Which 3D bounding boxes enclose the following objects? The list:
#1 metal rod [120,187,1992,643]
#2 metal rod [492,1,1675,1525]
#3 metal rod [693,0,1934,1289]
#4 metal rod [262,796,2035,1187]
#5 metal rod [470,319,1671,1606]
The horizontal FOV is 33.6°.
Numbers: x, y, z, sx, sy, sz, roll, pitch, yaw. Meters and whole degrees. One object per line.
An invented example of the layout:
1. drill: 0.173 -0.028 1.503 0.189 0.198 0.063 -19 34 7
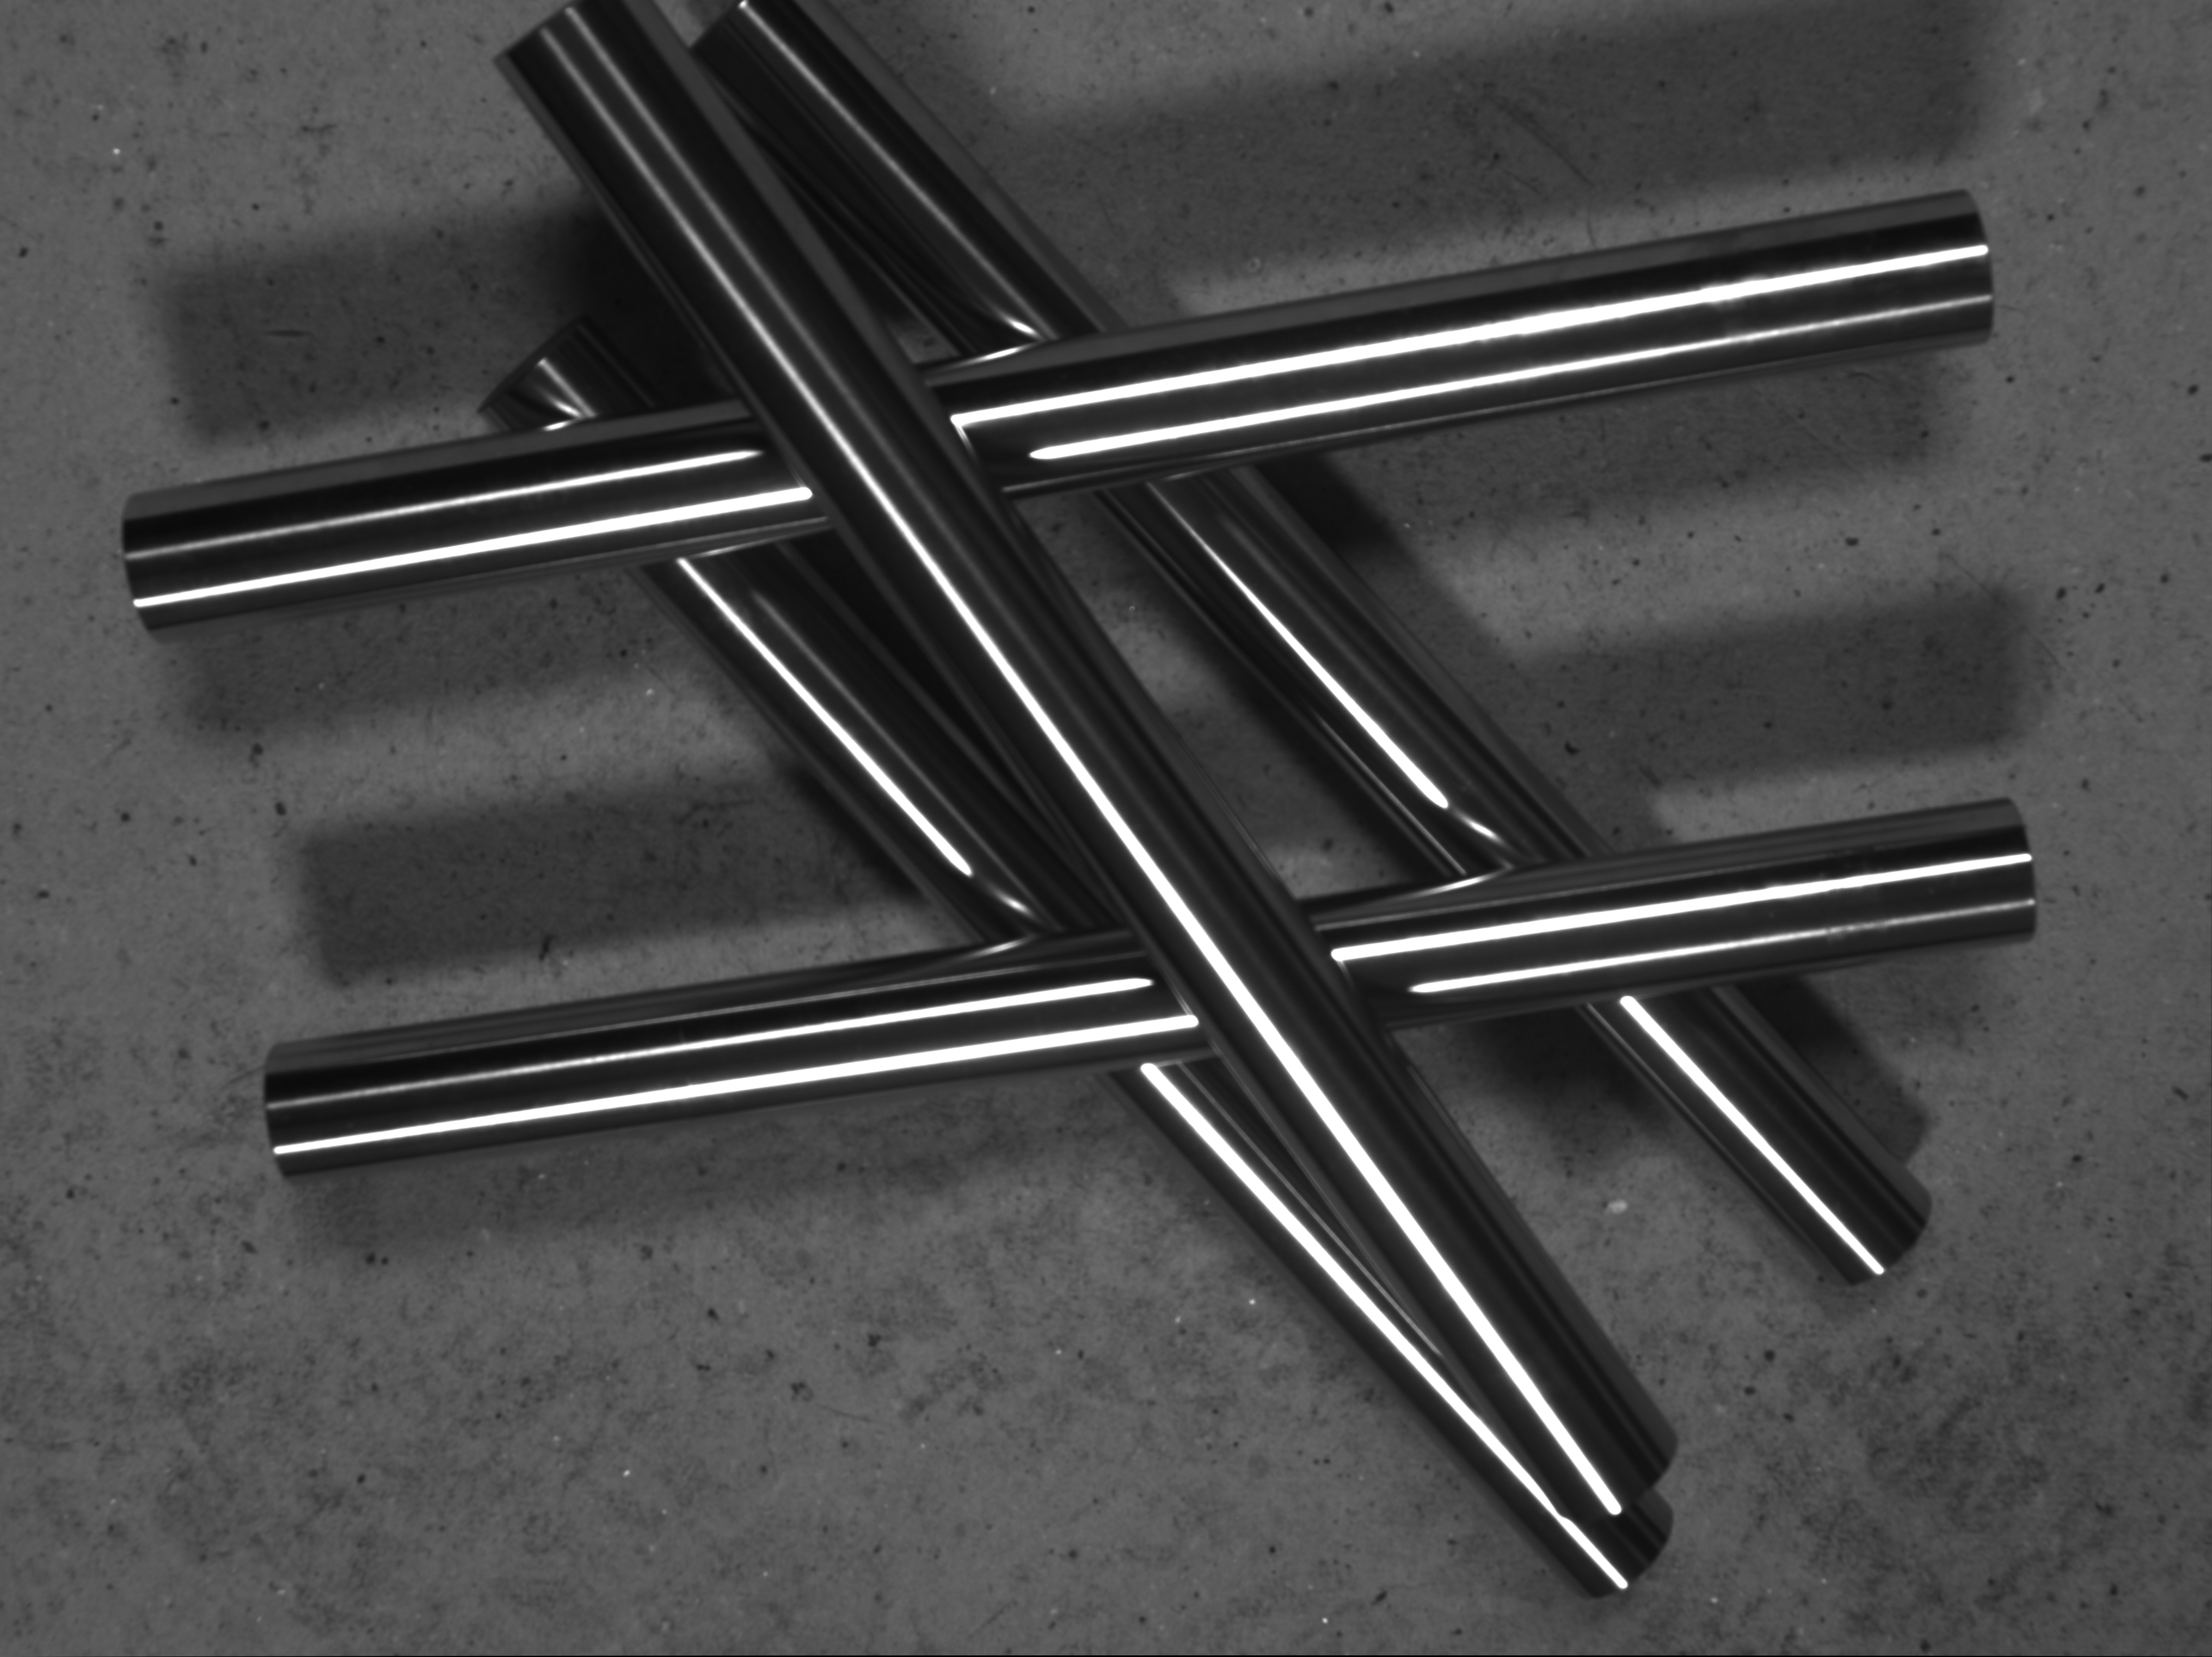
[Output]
1. metal rod: -0.009 -0.066 0.593 0.300 0.025 0.025 -9 110 3
2. metal rod: 0.003 -0.005 0.589 0.025 0.025 0.300 -33 107 11
3. metal rod: 0.040 -0.029 0.633 0.025 0.025 0.300 -41 105 13
4. metal rod: 0.006 0.028 0.627 0.300 0.025 0.025 -8 110 2
5. metal rod: 0.000 0.030 0.654 0.025 0.025 0.300 -39 106 12
